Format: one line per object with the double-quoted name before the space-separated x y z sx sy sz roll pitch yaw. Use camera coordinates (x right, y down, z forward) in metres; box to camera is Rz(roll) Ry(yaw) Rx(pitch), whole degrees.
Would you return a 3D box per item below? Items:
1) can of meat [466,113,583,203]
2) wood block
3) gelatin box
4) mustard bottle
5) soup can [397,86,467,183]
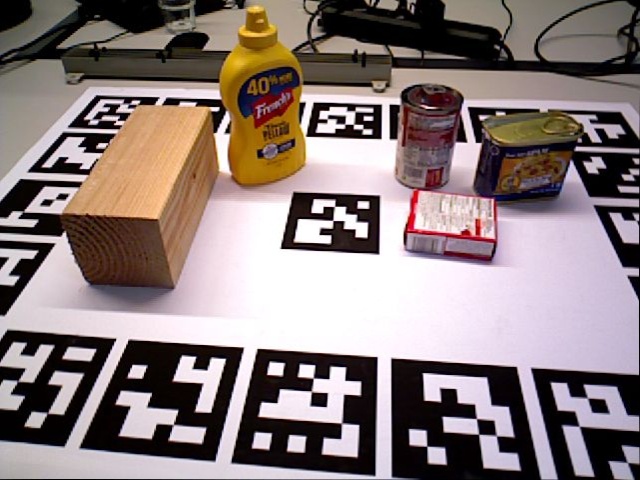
"can of meat" 0.218 -0.090 0.593 0.101 0.085 0.057 -5 42 -8
"wood block" -0.176 -0.055 0.560 0.091 0.092 0.202 5 38 4
"gelatin box" 0.134 -0.016 0.546 0.089 0.031 0.071 8 44 14
"mustard bottle" -0.070 -0.154 0.597 0.095 0.196 0.058 -13 42 -16
"soup can" 0.123 -0.124 0.606 0.067 0.104 0.067 -1 43 0
